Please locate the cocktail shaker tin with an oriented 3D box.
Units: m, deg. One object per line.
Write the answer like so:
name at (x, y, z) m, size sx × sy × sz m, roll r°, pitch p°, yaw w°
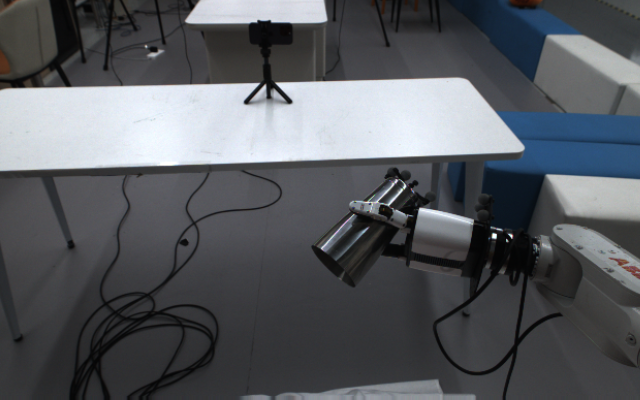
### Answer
cocktail shaker tin at (0.077, 0.039, 0.765) m, size 0.170 × 0.093 × 0.093 m, roll -43°, pitch 50°, yaw -14°
